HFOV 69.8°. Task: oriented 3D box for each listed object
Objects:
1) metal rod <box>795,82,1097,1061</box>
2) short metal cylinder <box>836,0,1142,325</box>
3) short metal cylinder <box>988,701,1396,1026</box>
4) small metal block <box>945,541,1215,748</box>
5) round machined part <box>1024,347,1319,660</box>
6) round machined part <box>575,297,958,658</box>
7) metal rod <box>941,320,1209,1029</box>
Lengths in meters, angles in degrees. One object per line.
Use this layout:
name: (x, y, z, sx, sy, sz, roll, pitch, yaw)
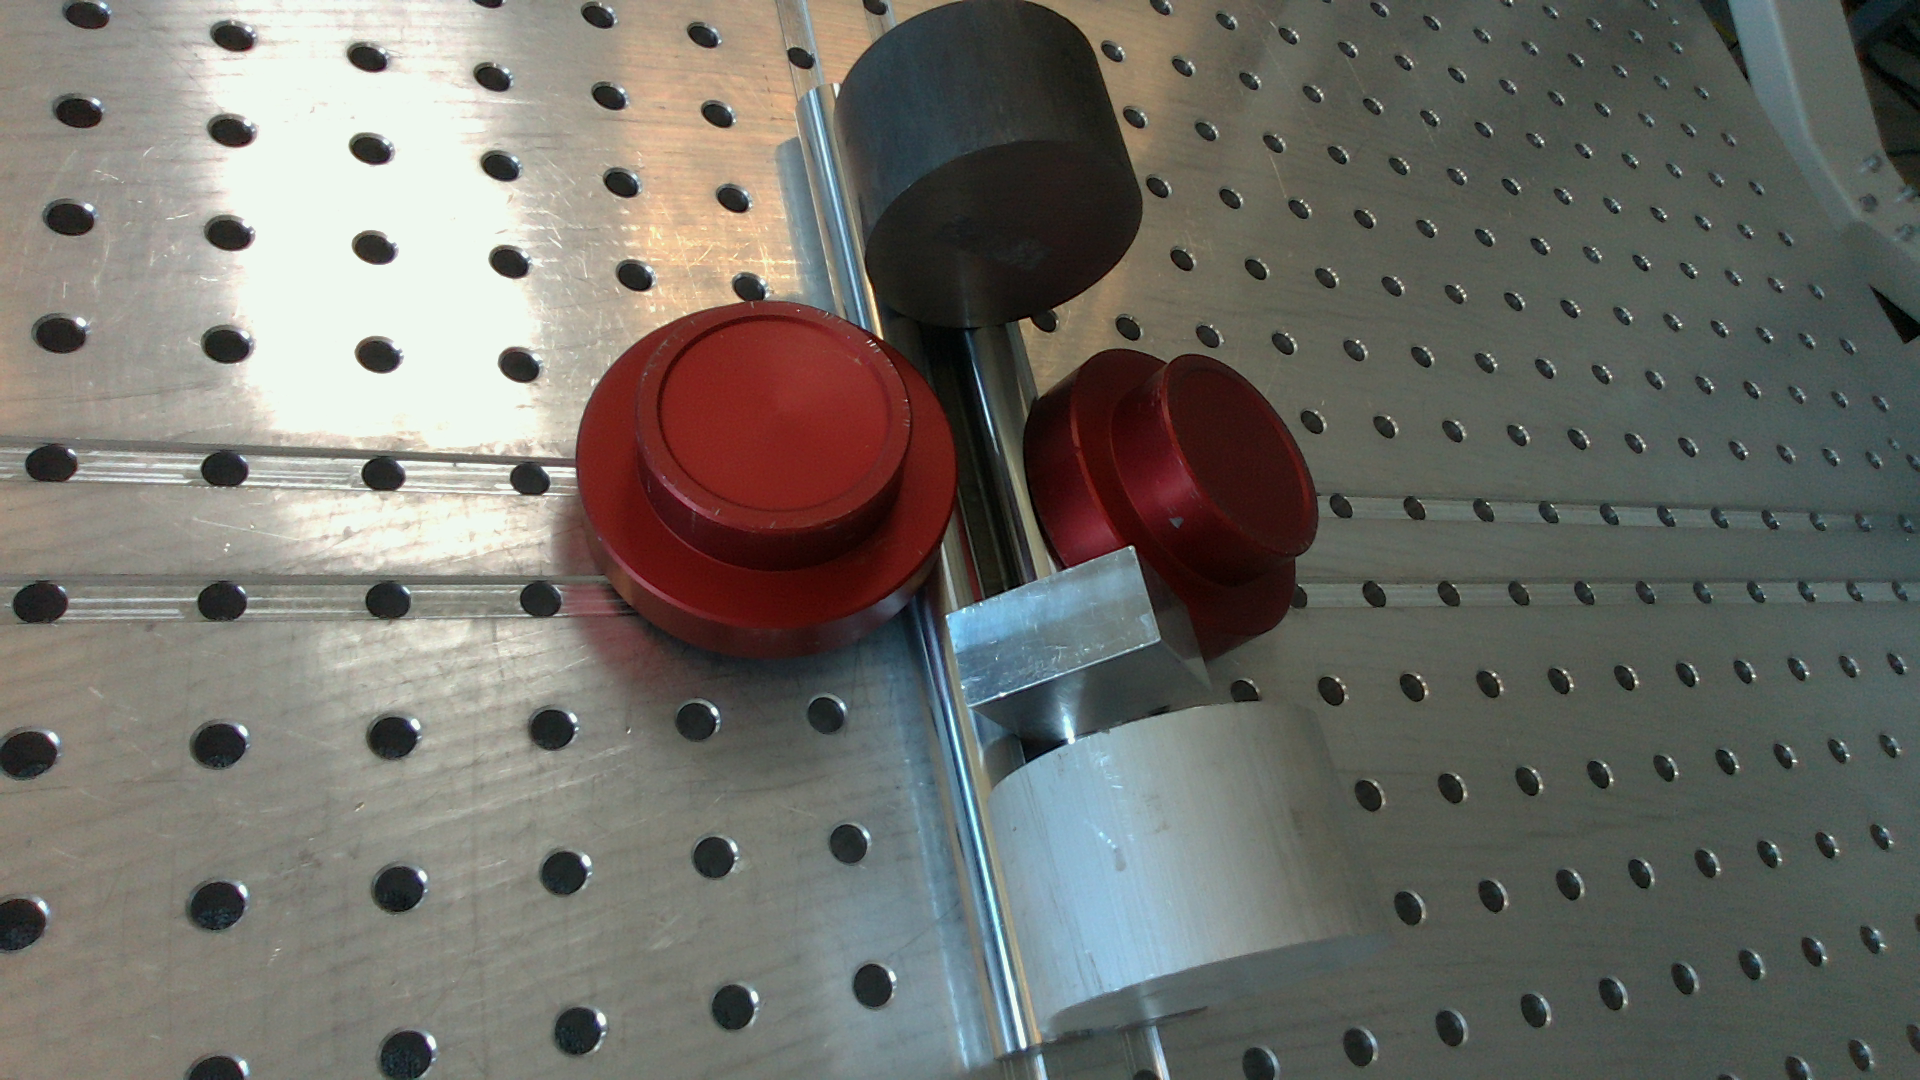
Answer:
metal rod: (-0.011, -0.010, 0.392, 0.025, 0.025, 0.300, 1, 61, -28)
short metal cylinder: (0.007, -0.107, 0.398, 0.080, 0.080, 0.050, 1, 61, -28)
short metal cylinder: (0.050, 0.075, 0.311, 0.080, 0.080, 0.050, 1, 61, -28)
small metal block: (0.031, 0.028, 0.346, 0.050, 0.050, 0.025, 41, 32, -59)
round machined part: (0.069, -0.017, 0.412, 0.098, 0.042, 0.098, 26, 47, -31)
round machined part: (-0.048, -0.023, 0.354, 0.098, 0.042, 0.098, 5, 61, -10)
metal rod: (0.020, -0.012, 0.409, 0.025, 0.025, 0.300, 1, 61, -28)
